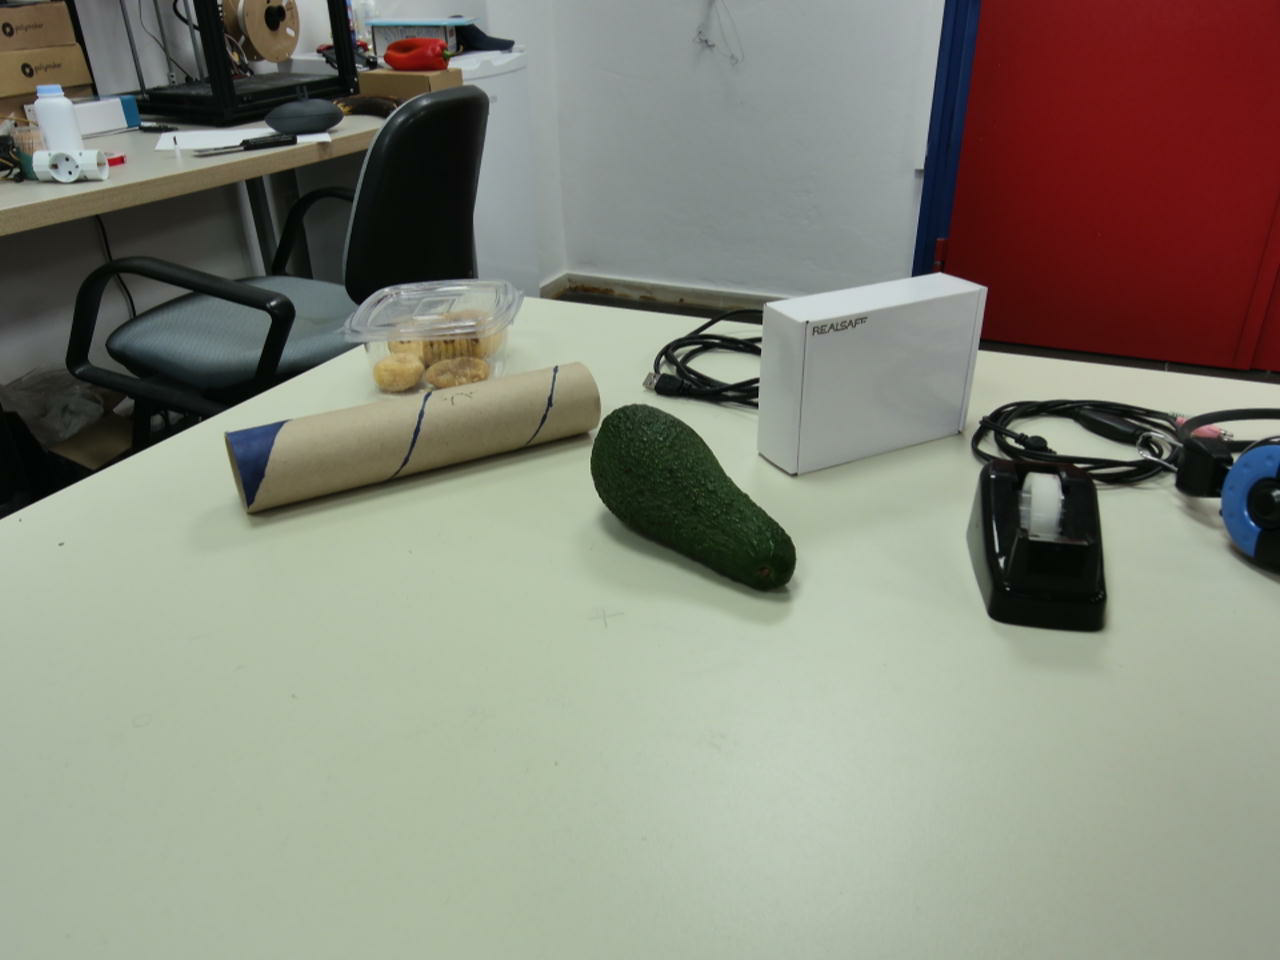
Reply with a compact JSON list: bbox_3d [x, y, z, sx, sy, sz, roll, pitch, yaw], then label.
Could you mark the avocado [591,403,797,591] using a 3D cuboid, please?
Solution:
[{"bbox_3d":[0.029,0.003,0.517,0.141,0.067,0.063,20,31,36],"label":"avocado"}]
